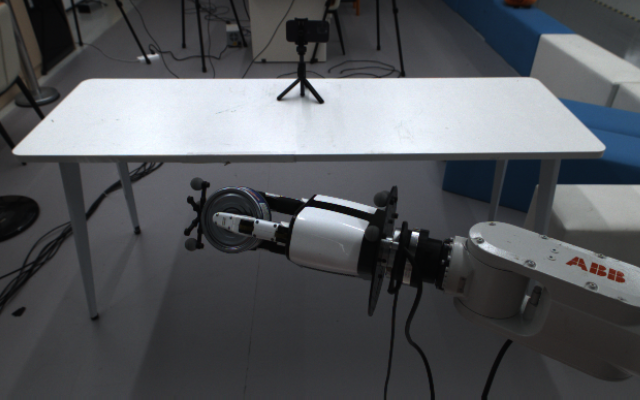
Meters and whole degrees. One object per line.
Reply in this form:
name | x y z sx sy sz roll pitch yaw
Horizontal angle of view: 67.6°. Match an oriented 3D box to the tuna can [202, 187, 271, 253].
tuna can | -0.106 0.024 0.621 0.085 0.085 0.034 10 2 11
